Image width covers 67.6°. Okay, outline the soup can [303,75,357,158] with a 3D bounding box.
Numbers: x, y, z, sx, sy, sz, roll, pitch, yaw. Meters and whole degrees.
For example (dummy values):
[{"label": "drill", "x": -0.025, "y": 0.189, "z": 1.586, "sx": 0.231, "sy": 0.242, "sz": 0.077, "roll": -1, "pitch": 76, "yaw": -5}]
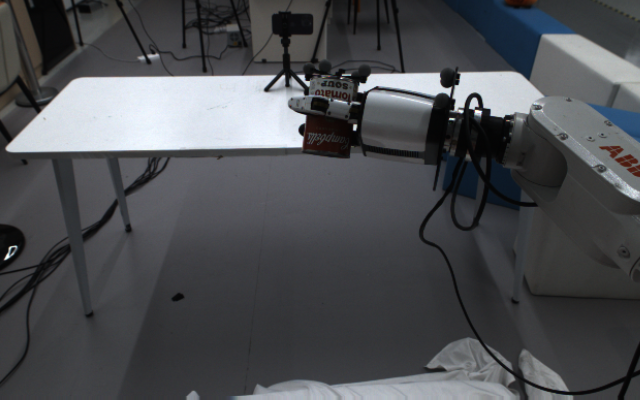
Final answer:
[{"label": "soup can", "x": 0.015, "y": -0.110, "z": 0.657, "sx": 0.067, "sy": 0.101, "sz": 0.067, "roll": 7, "pitch": 3, "yaw": 0}]
